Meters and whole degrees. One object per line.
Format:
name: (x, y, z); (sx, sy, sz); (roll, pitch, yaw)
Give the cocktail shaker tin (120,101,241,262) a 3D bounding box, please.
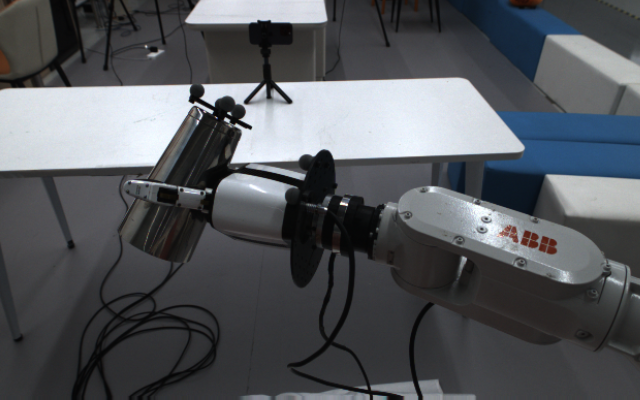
cocktail shaker tin: (-0.160, -0.024, 0.581); (0.093, 0.170, 0.093); (27, 2, -1)
